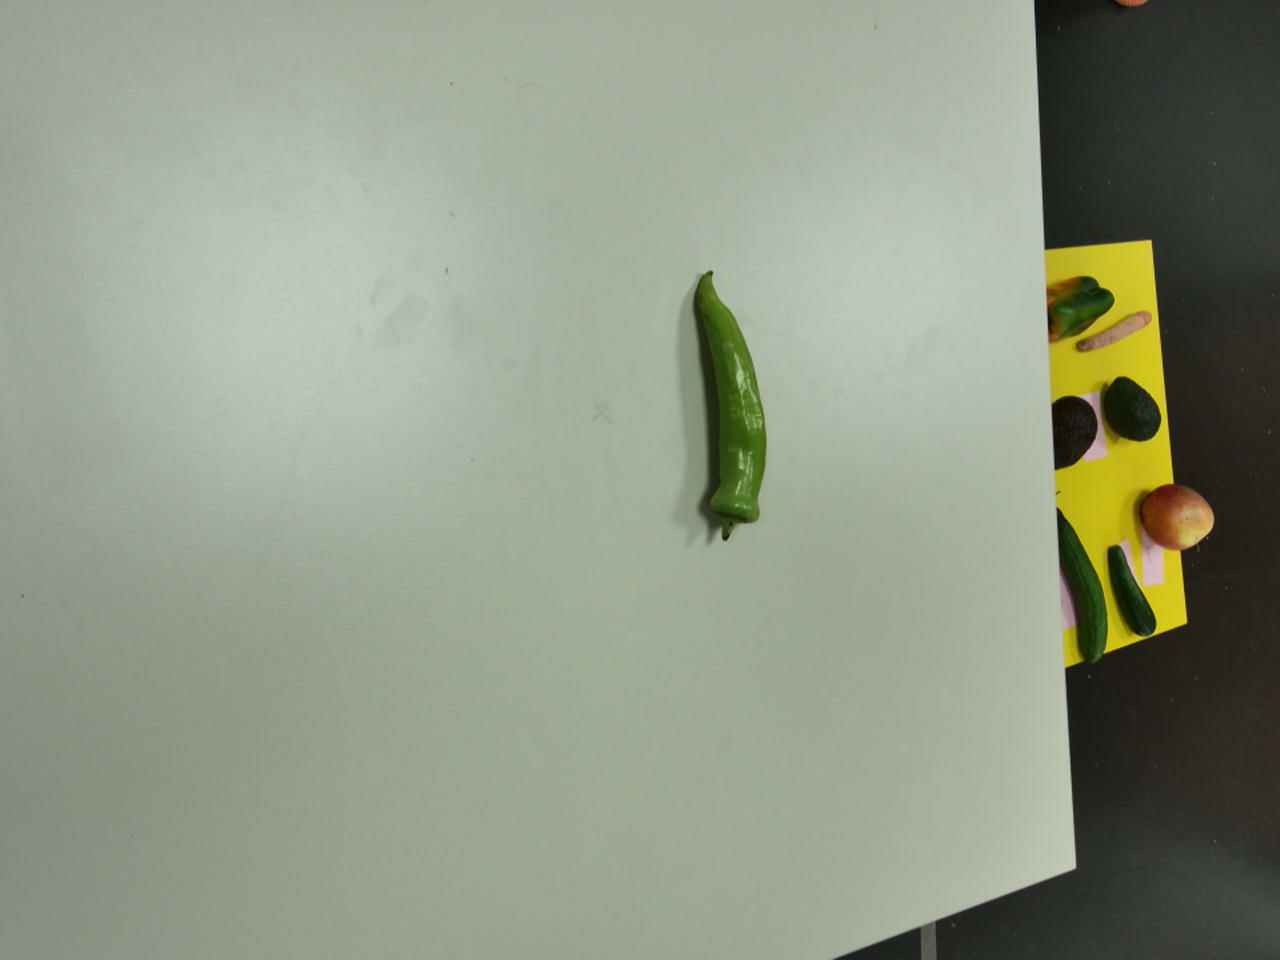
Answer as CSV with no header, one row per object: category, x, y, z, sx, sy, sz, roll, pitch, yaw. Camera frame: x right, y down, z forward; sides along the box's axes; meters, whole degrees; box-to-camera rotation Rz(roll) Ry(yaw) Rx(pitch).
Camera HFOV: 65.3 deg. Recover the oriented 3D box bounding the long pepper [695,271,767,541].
long pepper,0.069,-0.055,0.723,0.046,0.038,0.197,-3,92,-28
